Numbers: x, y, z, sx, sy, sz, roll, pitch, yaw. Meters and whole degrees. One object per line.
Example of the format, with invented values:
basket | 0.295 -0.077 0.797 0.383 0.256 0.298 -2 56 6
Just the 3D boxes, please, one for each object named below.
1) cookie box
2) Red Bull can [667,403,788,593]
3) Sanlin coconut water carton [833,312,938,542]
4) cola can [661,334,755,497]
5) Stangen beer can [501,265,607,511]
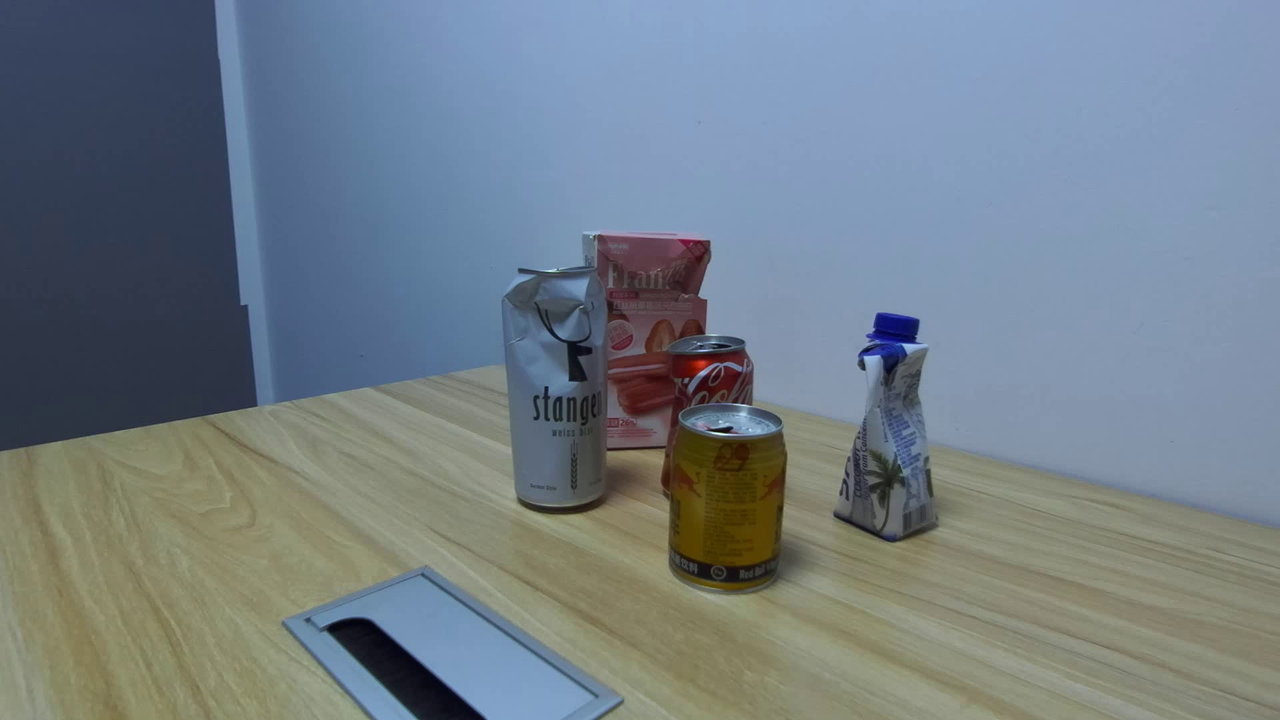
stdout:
cookie box | 0.004 -0.016 0.613 0.105 0.186 0.059 0 14 -10
Red Bull can | 0.050 0.077 0.409 0.067 0.093 0.067 2 14 0
Sanlin coconut water carton | 0.158 0.043 0.472 0.069 0.144 0.056 -15 12 -33
cola can | 0.051 0.043 0.508 0.065 0.117 0.072 2 12 2
Stangen beer can | -0.057 0.019 0.497 0.066 0.166 0.066 3 12 15
